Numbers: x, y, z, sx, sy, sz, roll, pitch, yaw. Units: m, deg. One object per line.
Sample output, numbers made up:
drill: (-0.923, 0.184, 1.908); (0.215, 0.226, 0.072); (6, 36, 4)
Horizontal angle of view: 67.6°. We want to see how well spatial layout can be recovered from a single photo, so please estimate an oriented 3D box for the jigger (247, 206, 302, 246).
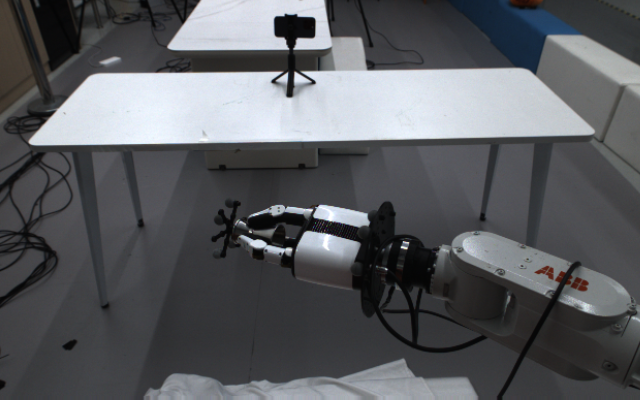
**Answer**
jigger: (-0.086, 0.050, 0.720); (0.071, 0.043, 0.043); (10, 35, 22)
